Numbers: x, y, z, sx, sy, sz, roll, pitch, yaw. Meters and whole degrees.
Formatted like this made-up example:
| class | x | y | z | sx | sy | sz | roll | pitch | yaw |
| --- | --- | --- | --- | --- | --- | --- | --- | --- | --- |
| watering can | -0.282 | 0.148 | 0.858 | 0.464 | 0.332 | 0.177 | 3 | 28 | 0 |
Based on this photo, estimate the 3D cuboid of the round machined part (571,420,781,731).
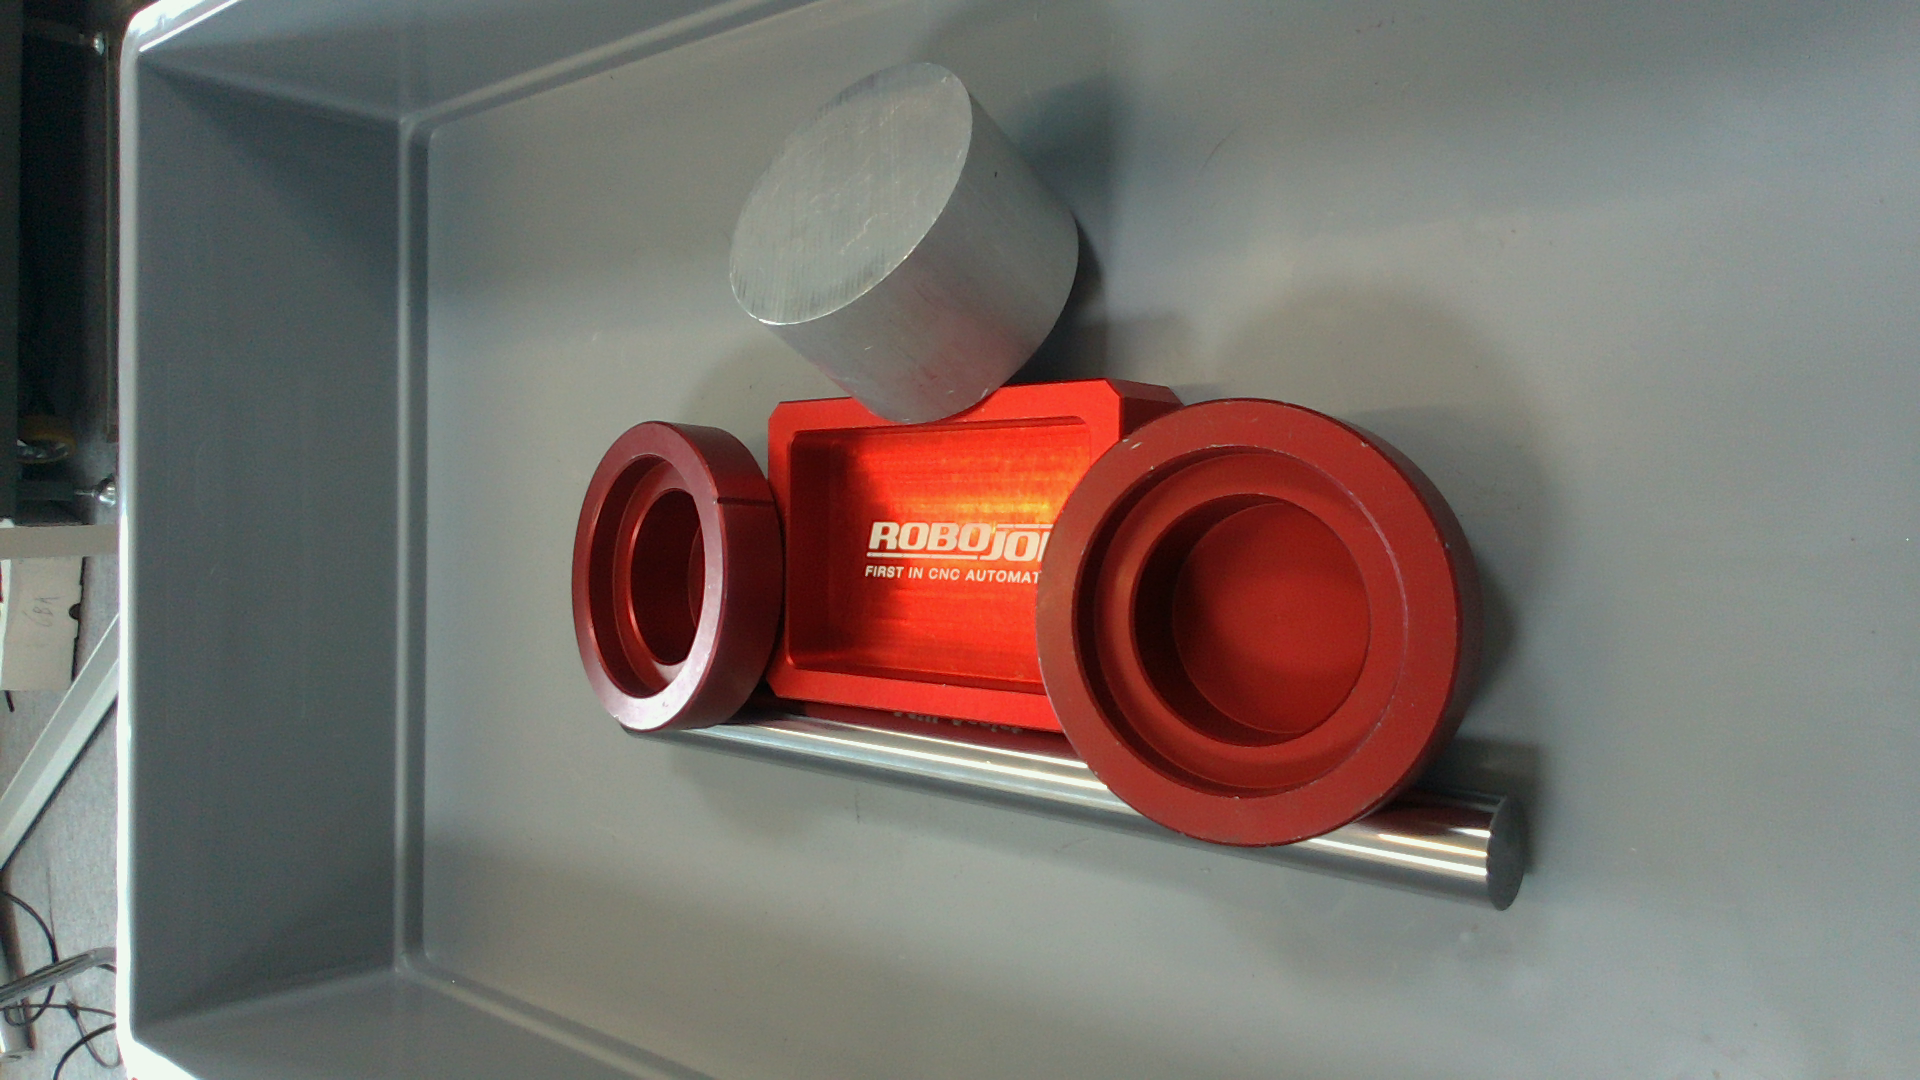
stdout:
| class | x | y | z | sx | sy | sz | roll | pitch | yaw |
| --- | --- | --- | --- | --- | --- | --- | --- | --- | --- |
| round machined part | -0.085 | 0.012 | 0.447 | 0.098 | 0.042 | 0.098 | -4 | 84 | 48 |

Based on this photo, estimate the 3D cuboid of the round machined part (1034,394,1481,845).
| class | x | y | z | sx | sy | sz | roll | pitch | yaw |
| --- | --- | --- | --- | --- | --- | --- | --- | --- | --- |
| round machined part | 0.069 | 0.018 | 0.317 | 0.098 | 0.042 | 0.098 | -1 | 88 | 32 |

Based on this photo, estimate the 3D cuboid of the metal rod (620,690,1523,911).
| class | x | y | z | sx | sy | sz | roll | pitch | yaw |
| --- | --- | --- | --- | --- | --- | --- | --- | --- | --- |
| metal rod | 0.002 | 0.063 | 0.391 | 0.299 | 0.025 | 0.025 | 2 | 91 | 40 |

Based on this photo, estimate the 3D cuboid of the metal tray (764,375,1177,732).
| class | x | y | z | sx | sy | sz | roll | pitch | yaw |
| --- | --- | --- | --- | --- | --- | --- | --- | --- | --- |
| metal tray | -0.001 | 0.003 | 0.390 | 0.129 | 0.030 | 0.090 | 1 | 91 | 40 |

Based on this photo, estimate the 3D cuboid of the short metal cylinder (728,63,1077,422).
| class | x | y | z | sx | sy | sz | roll | pitch | yaw |
| --- | --- | --- | --- | --- | --- | --- | --- | --- | --- |
| short metal cylinder | -0.016 | -0.079 | 0.371 | 0.080 | 0.050 | 0.080 | -21 | 52 | 29 |
